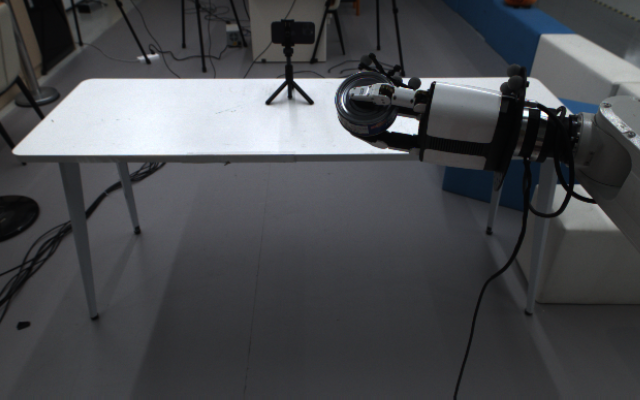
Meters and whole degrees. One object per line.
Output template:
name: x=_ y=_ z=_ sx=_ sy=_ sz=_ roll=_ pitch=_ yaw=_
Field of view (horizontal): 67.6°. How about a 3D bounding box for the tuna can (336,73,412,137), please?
tuna can: x=0.068 y=-0.127 z=0.662 sx=0.085 sy=0.034 sz=0.085 roll=-4 pitch=69 yaw=10
